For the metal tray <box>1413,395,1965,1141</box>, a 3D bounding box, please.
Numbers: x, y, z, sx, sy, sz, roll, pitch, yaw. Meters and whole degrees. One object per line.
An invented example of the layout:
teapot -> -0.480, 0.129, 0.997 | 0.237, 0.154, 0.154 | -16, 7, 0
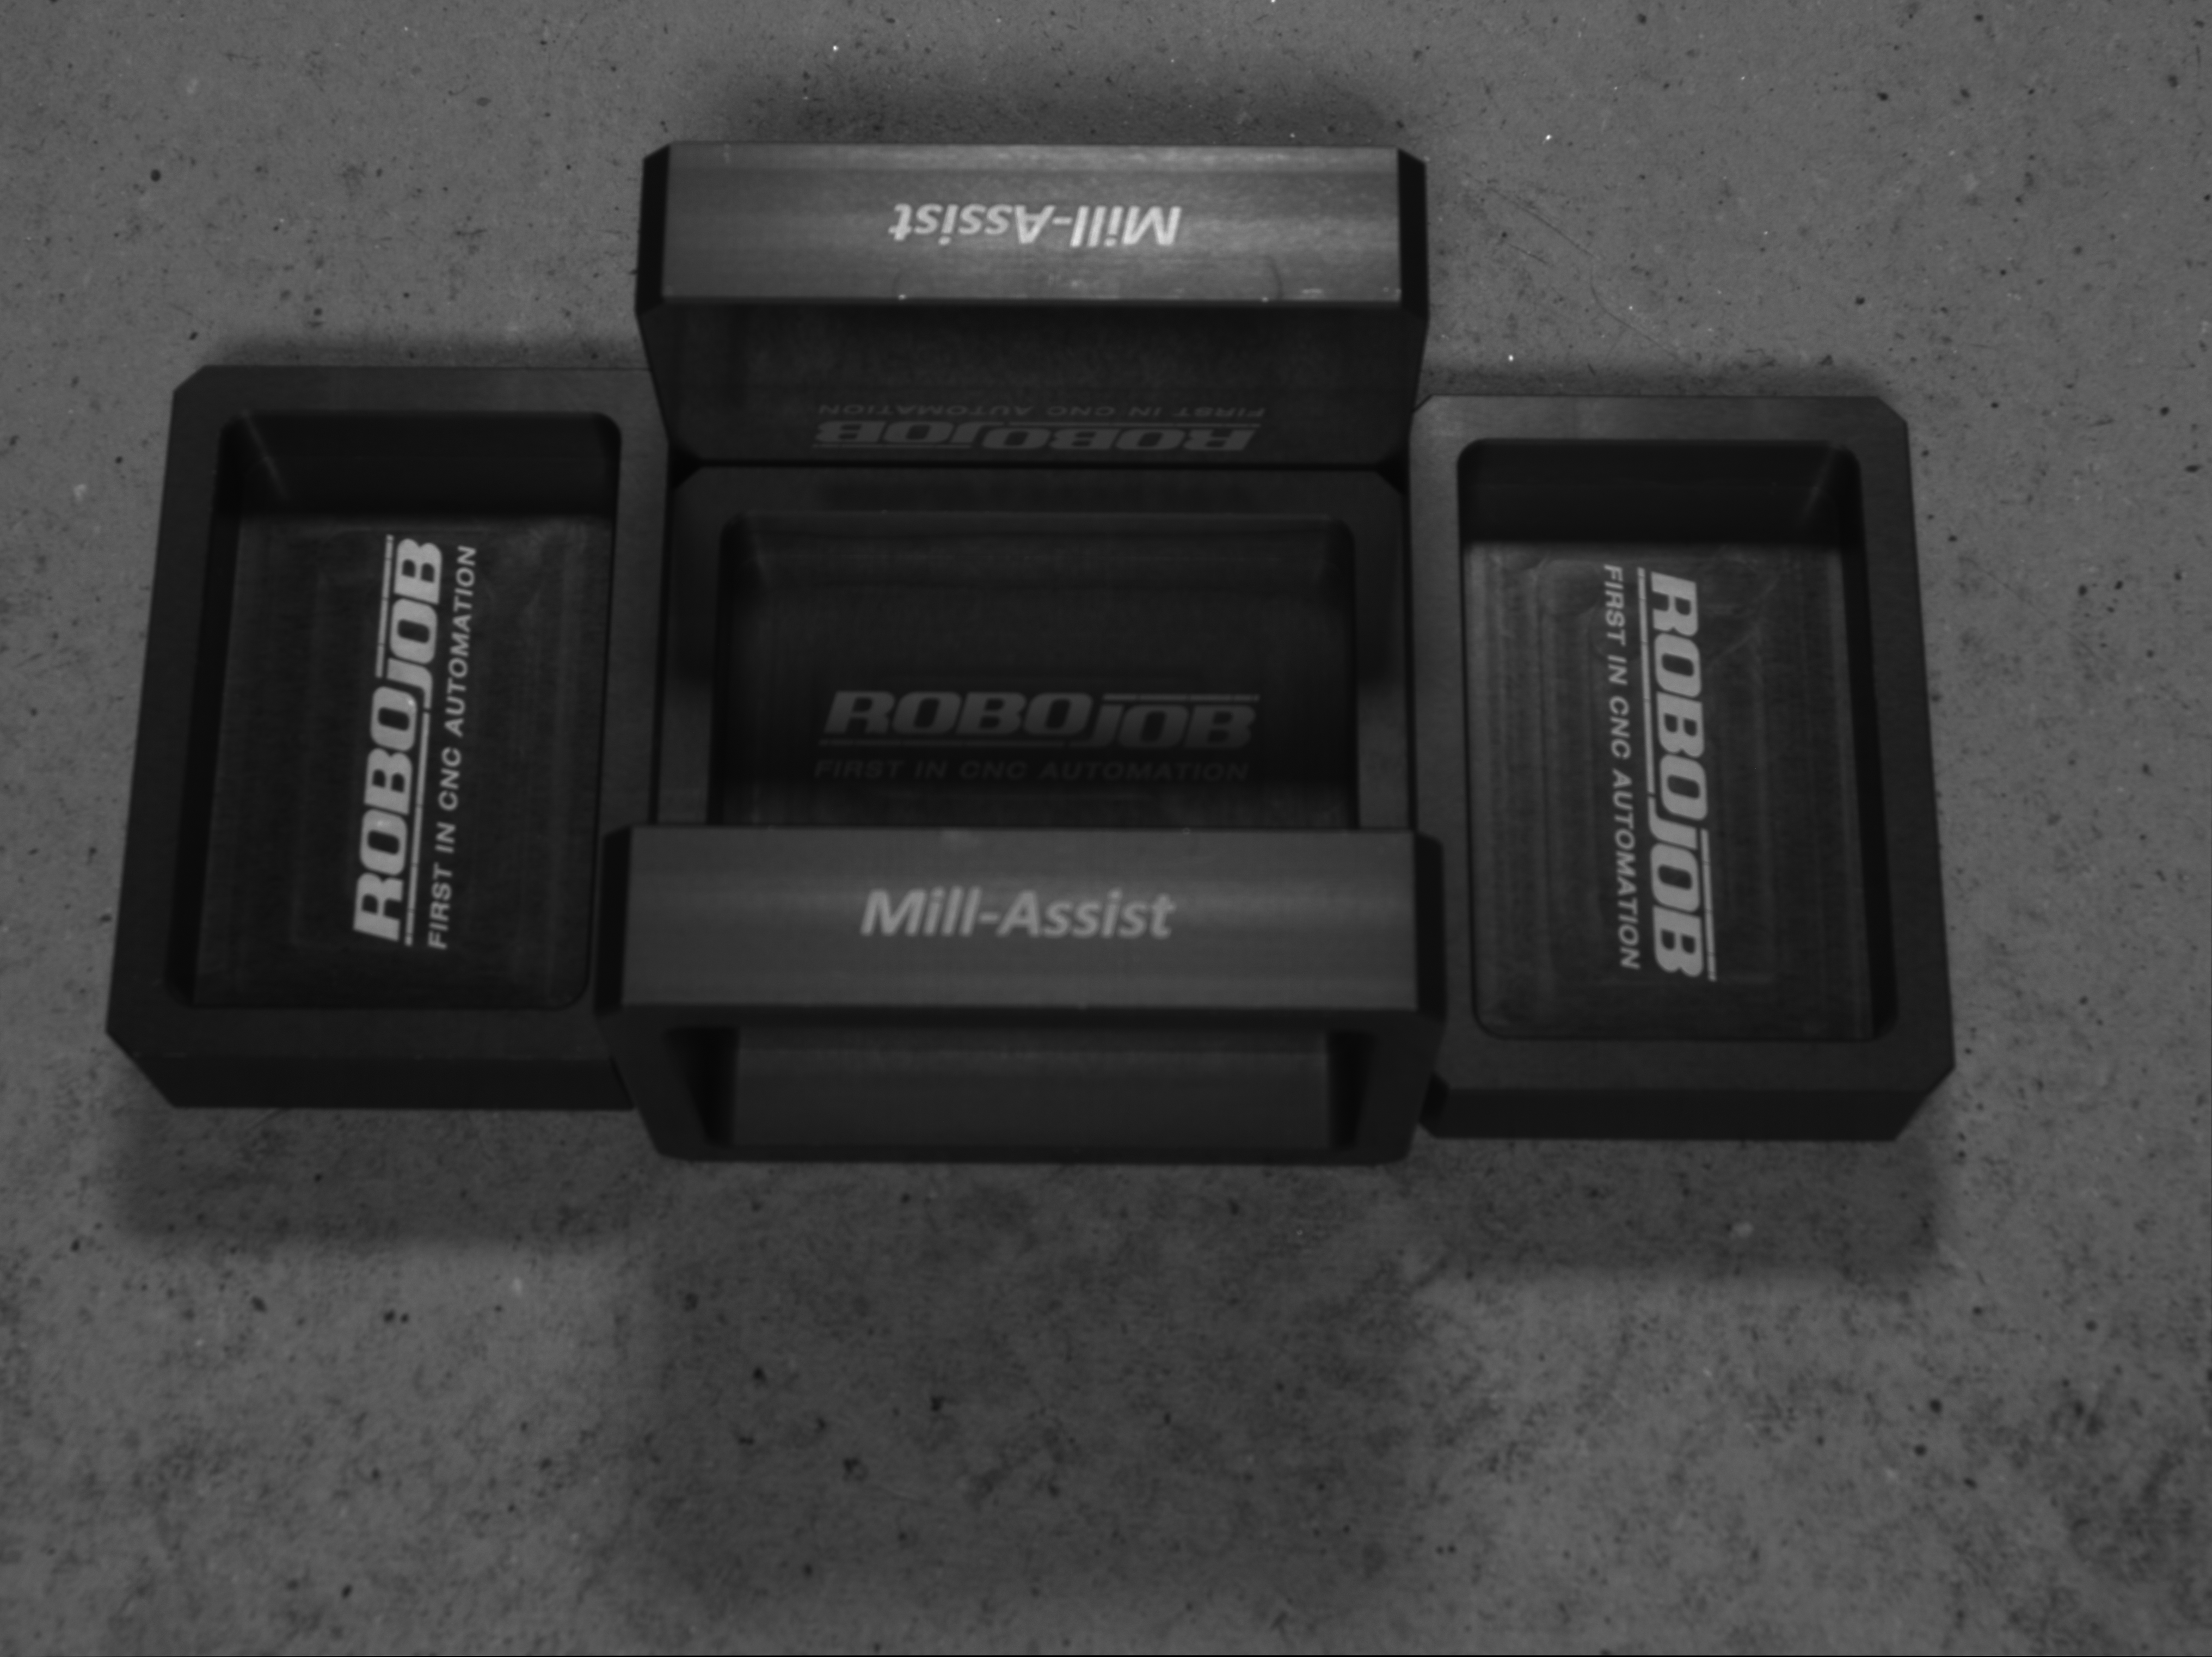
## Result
metal tray -> 0.100, -0.012, 0.647 | 0.090, 0.030, 0.130 | 1, 70, 0

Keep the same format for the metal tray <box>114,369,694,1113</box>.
metal tray -> -0.121, -0.016, 0.648 | 0.090, 0.030, 0.130 | 1, 70, 0

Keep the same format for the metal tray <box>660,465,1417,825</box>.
metal tray -> -0.011, -0.017, 0.648 | 0.130, 0.030, 0.090 | 1, 70, 0

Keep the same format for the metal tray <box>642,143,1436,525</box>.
metal tray -> -0.011, -0.084, 0.641 | 0.130, 0.090, 0.030 | 0, 70, 0

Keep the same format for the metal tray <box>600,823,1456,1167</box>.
metal tray -> -0.012, 0.029, 0.598 | 0.130, 0.090, 0.030 | 0, 70, 0
